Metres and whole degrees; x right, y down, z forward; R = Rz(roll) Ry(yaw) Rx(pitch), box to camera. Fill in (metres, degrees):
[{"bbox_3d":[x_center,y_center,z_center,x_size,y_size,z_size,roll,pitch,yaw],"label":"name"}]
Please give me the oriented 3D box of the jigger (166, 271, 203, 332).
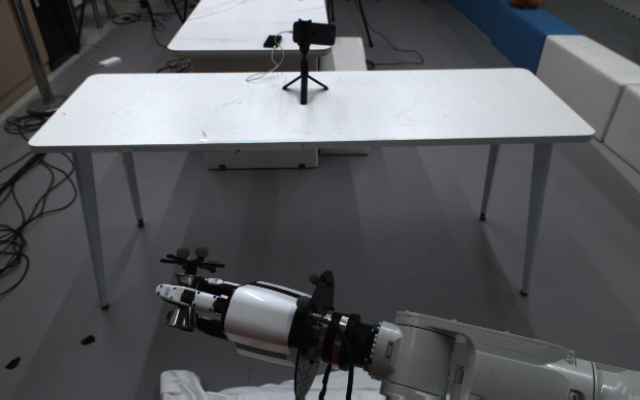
[{"bbox_3d":[-0.179,0.134,0.644,0.043,0.043,0.071,5,71,4],"label":"jigger"}]
